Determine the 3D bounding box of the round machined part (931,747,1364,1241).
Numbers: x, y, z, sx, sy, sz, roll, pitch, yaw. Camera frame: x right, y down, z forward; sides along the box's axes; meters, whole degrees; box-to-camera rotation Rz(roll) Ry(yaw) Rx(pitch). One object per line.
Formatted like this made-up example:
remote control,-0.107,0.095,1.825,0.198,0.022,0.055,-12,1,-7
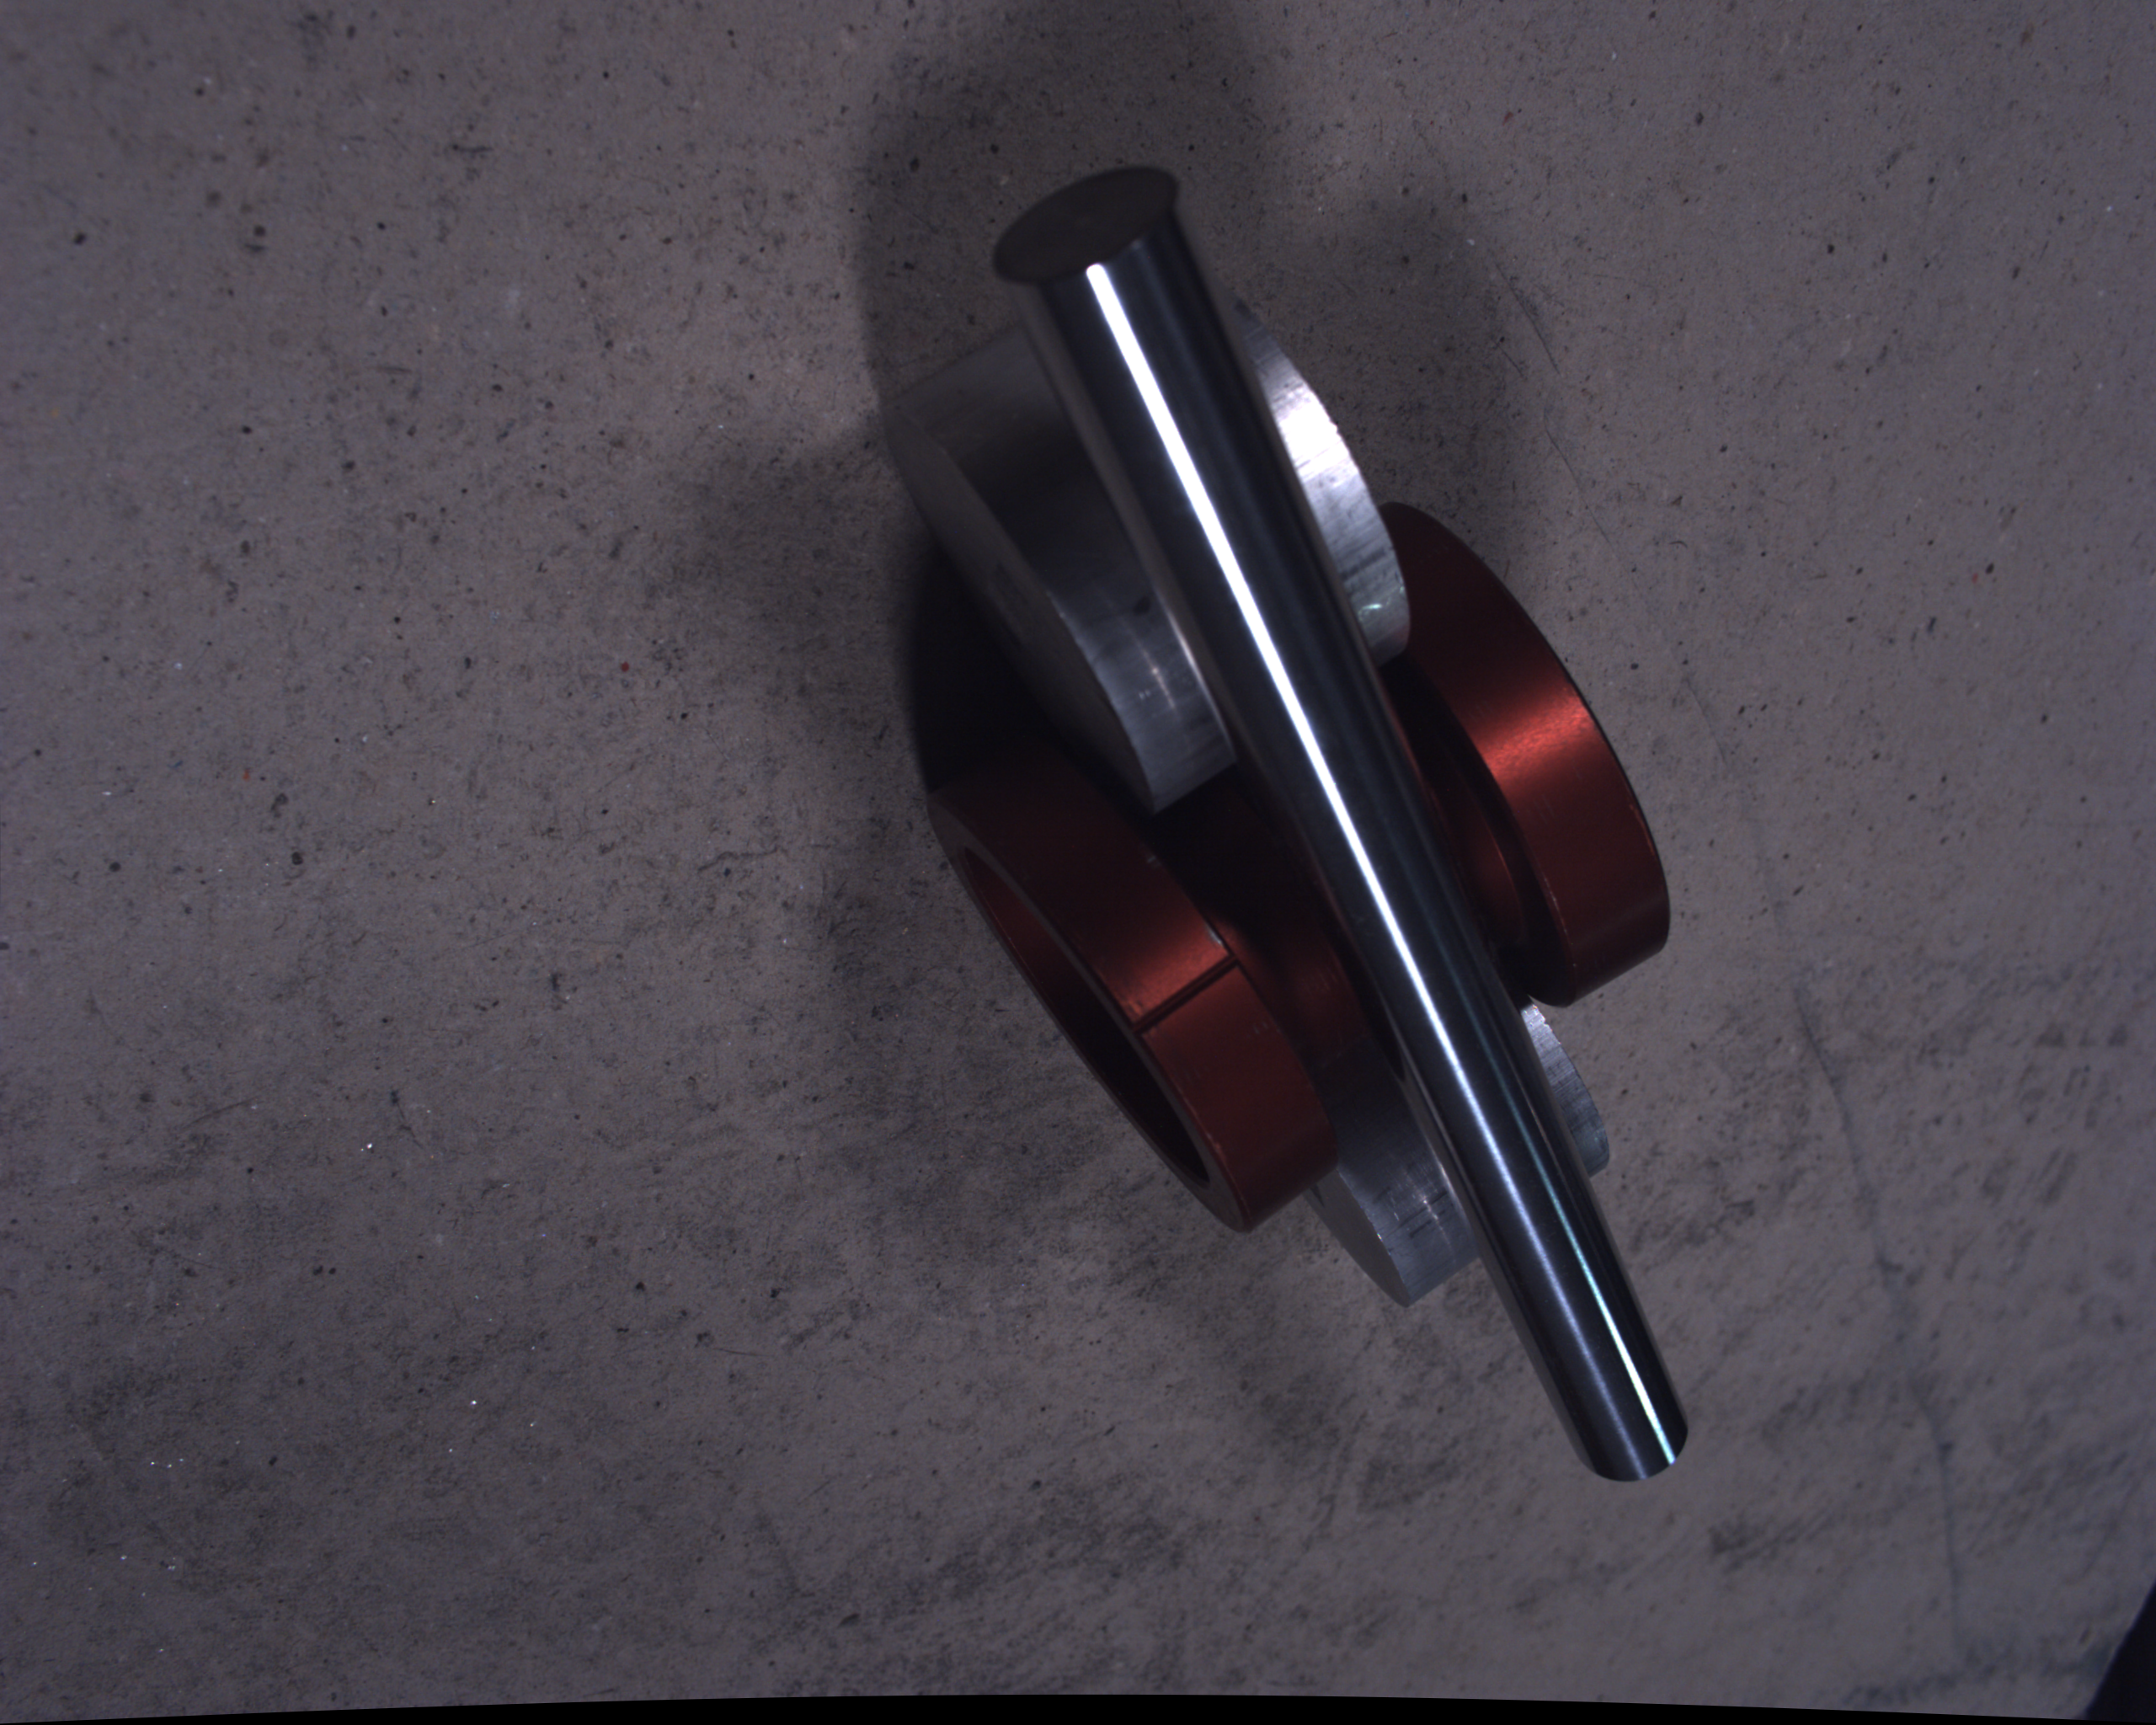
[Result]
round machined part,0.018,0.018,0.382,0.042,0.098,0.098,-37,130,-9

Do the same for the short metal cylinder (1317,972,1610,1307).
short metal cylinder,0.066,0.046,0.439,0.050,0.080,0.080,-34,129,-6

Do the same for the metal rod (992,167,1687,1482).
metal rod,0.059,0.021,0.352,0.025,0.025,0.299,-35,129,-6

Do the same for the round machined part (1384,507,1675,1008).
round machined part,0.064,-0.014,0.390,0.042,0.098,0.098,-31,129,-3

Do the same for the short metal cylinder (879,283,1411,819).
short metal cylinder,0.010,-0.054,0.346,0.050,0.080,0.080,-34,129,-6
